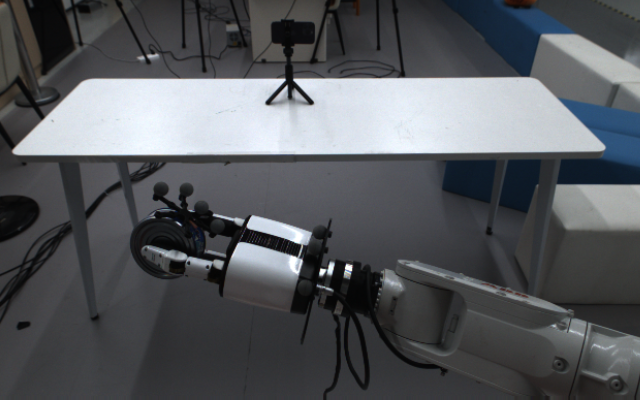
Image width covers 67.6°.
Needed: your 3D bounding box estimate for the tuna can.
[{"bbox_3d":[-0.187,0.055,0.598,0.085,0.085,0.034,6,19,6],"label":"tuna can"}]
